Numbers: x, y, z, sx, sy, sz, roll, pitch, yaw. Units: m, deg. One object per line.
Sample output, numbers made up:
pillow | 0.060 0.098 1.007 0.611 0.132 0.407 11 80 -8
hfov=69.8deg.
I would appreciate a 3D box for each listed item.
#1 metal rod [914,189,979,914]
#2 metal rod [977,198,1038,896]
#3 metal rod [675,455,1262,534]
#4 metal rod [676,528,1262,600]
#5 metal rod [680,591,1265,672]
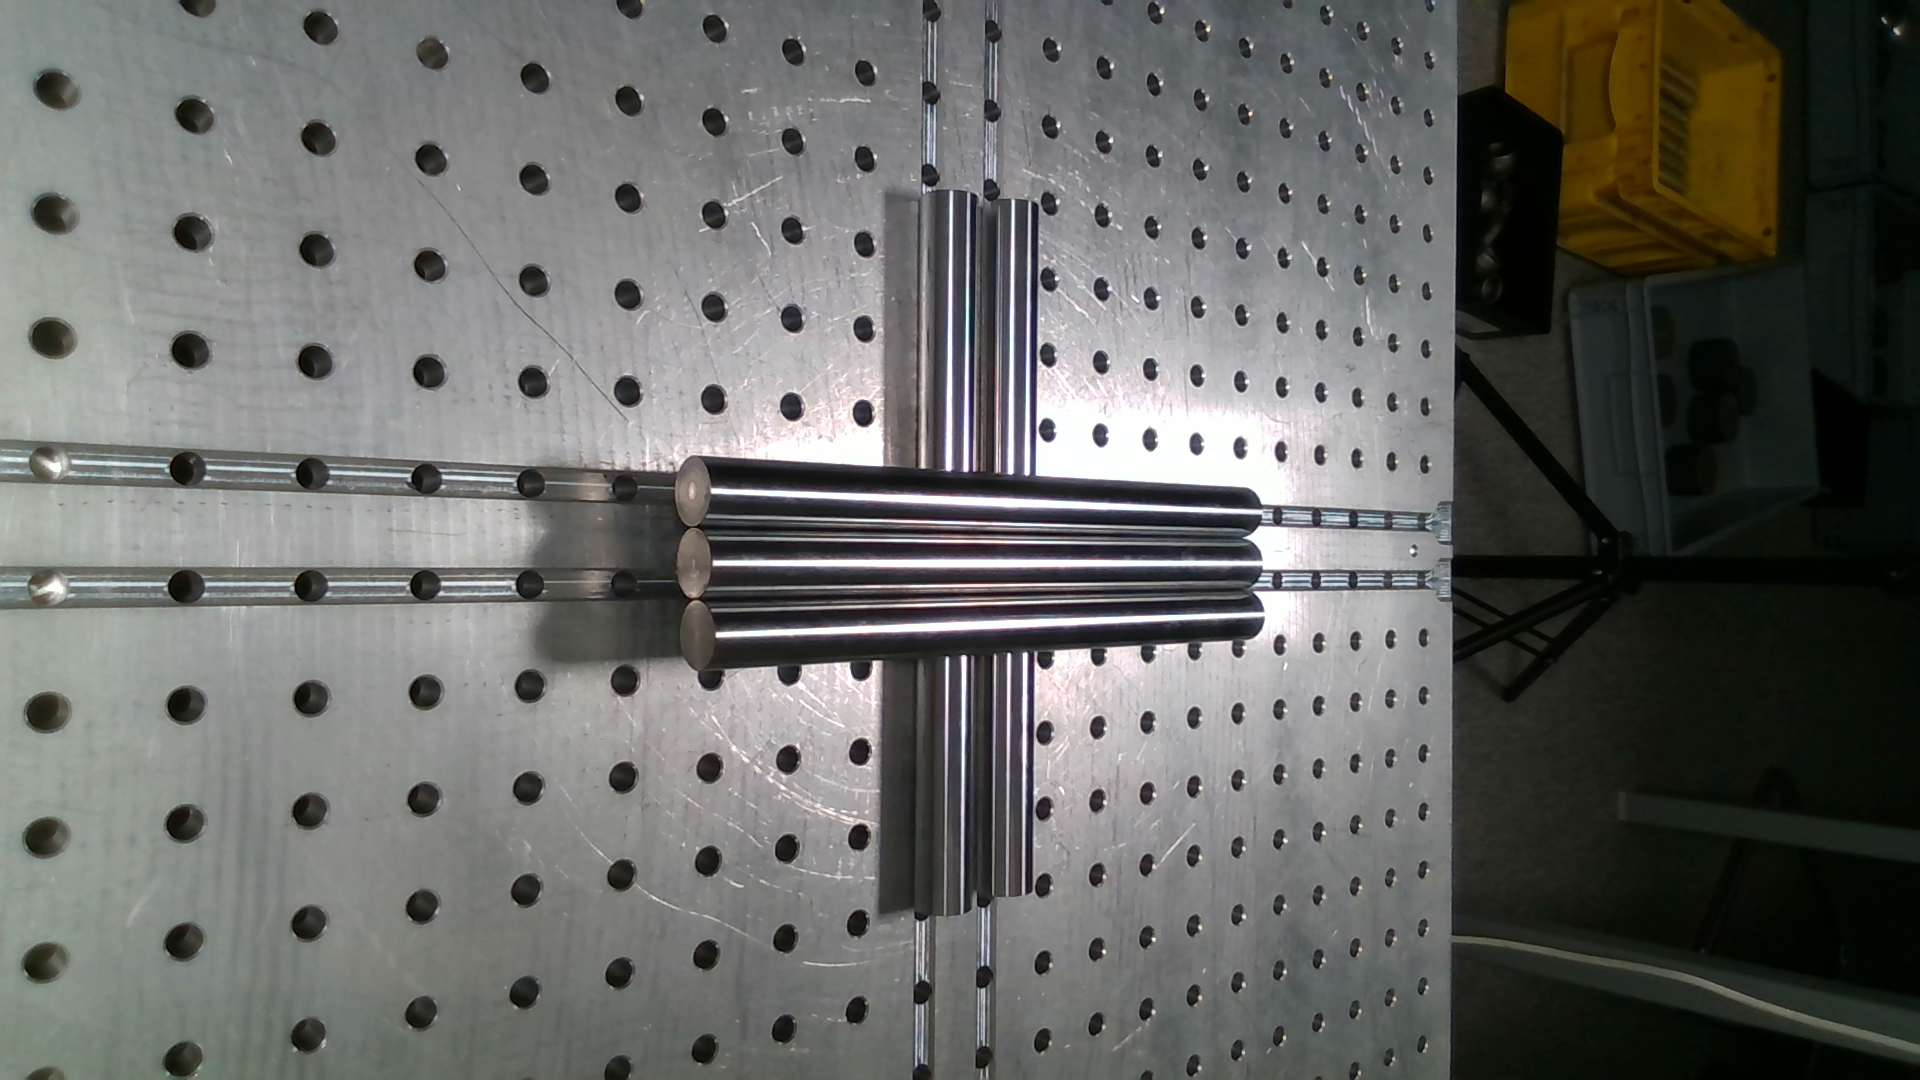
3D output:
metal rod | -0.006 0.005 0.581 0.025 0.025 0.300 1 90 -40
metal rod | 0.021 0.003 0.604 0.025 0.025 0.300 1 90 -40
metal rod | 0.022 -0.015 0.572 0.300 0.025 0.025 1 89 -40
metal rod | 0.022 0.010 0.573 0.300 0.025 0.025 1 89 -40
metal rod | 0.024 0.035 0.574 0.300 0.025 0.025 1 89 -40
